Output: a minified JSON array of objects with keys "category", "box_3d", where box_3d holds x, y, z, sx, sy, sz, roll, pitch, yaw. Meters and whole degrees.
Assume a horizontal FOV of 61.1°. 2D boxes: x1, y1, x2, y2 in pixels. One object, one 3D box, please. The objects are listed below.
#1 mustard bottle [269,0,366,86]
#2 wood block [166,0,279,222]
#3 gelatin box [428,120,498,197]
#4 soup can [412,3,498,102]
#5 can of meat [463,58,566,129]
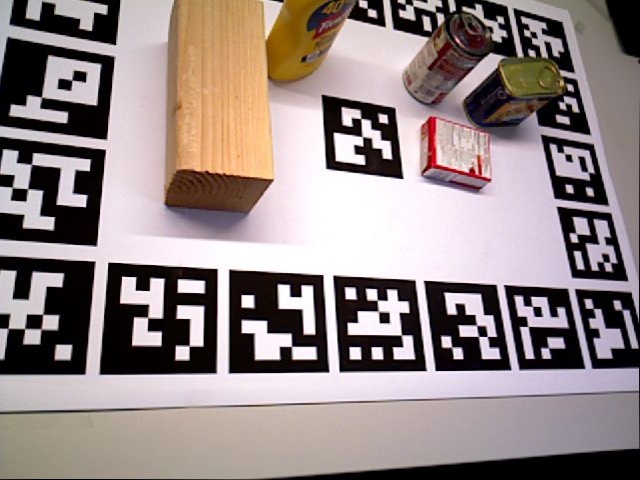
[{"category":"mustard bottle","box_3d":[0.000,-0.242,0.566,0.094,0.195,0.058,-24,80,-30]},{"category":"wood block","box_3d":[-0.100,-0.134,0.540,0.090,0.092,0.204,5,65,-23]},{"category":"gelatin box","box_3d":[0.179,-0.100,0.671,0.088,0.031,0.072,13,69,-15]},{"category":"soup can","box_3d":[0.166,-0.225,0.664,0.067,0.104,0.067,7,69,-20]},{"category":"can of meat","box_3d":[0.251,-0.191,0.708,0.100,0.085,0.057,-10,75,-28]}]
